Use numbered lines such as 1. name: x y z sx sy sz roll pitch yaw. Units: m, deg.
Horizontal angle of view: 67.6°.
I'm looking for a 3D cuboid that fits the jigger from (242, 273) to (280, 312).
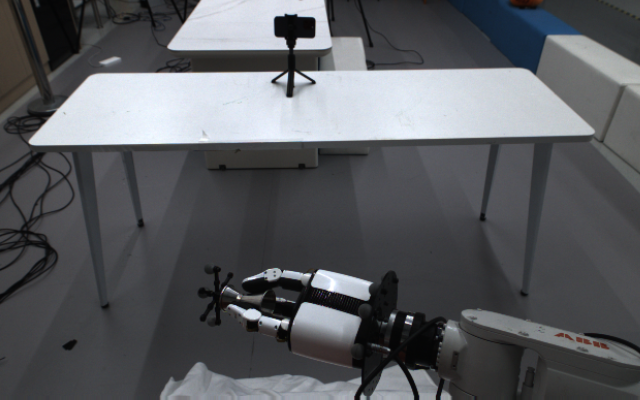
1. jigger: -0.096 0.140 0.683 0.071 0.043 0.043 5 33 22
